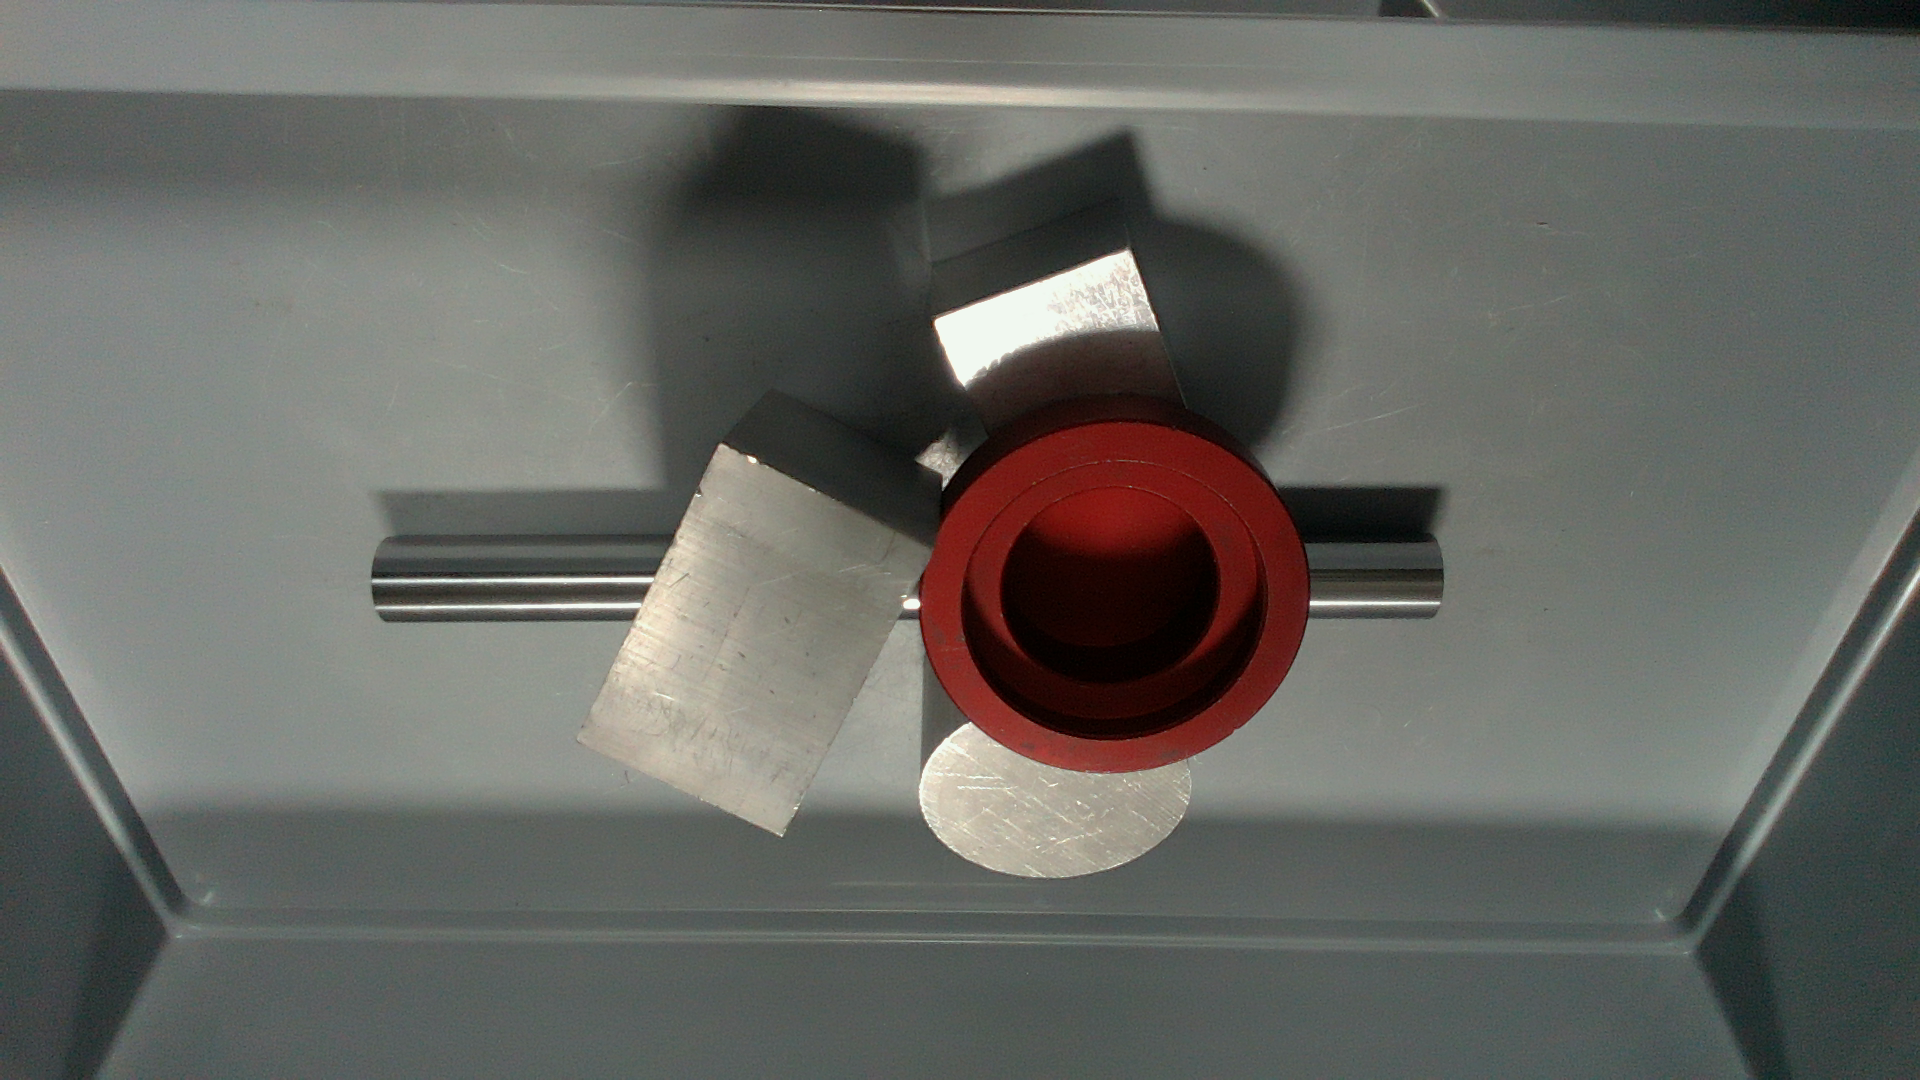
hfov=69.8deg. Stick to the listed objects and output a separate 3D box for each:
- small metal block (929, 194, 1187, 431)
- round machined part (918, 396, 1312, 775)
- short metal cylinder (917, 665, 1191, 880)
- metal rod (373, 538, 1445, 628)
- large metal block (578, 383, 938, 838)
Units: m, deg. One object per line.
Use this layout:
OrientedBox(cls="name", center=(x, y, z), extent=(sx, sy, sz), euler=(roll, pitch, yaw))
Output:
OrientedBox(cls="small metal block", center=(0.025, -0.052, 0.346), extent=(0.050, 0.025, 0.050), euler=(-17, 128, 13))
OrientedBox(cls="round machined part", center=(0.039, 0.009, 0.361), extent=(0.098, 0.042, 0.098), euler=(0, 113, 0))
OrientedBox(cls="short metal cylinder", center=(0.028, 0.059, 0.422), extent=(0.080, 0.050, 0.080), euler=(0, 130, 0))
OrientedBox(cls="metal rod", center=(-0.014, 0.012, 0.397), extent=(0.300, 0.025, 0.025), euler=(0, 130, 0))
OrientedBox(cls="large metal block", center=(-0.046, 0.013, 0.345), extent=(0.050, 0.080, 0.080), euler=(26, 103, -7))
